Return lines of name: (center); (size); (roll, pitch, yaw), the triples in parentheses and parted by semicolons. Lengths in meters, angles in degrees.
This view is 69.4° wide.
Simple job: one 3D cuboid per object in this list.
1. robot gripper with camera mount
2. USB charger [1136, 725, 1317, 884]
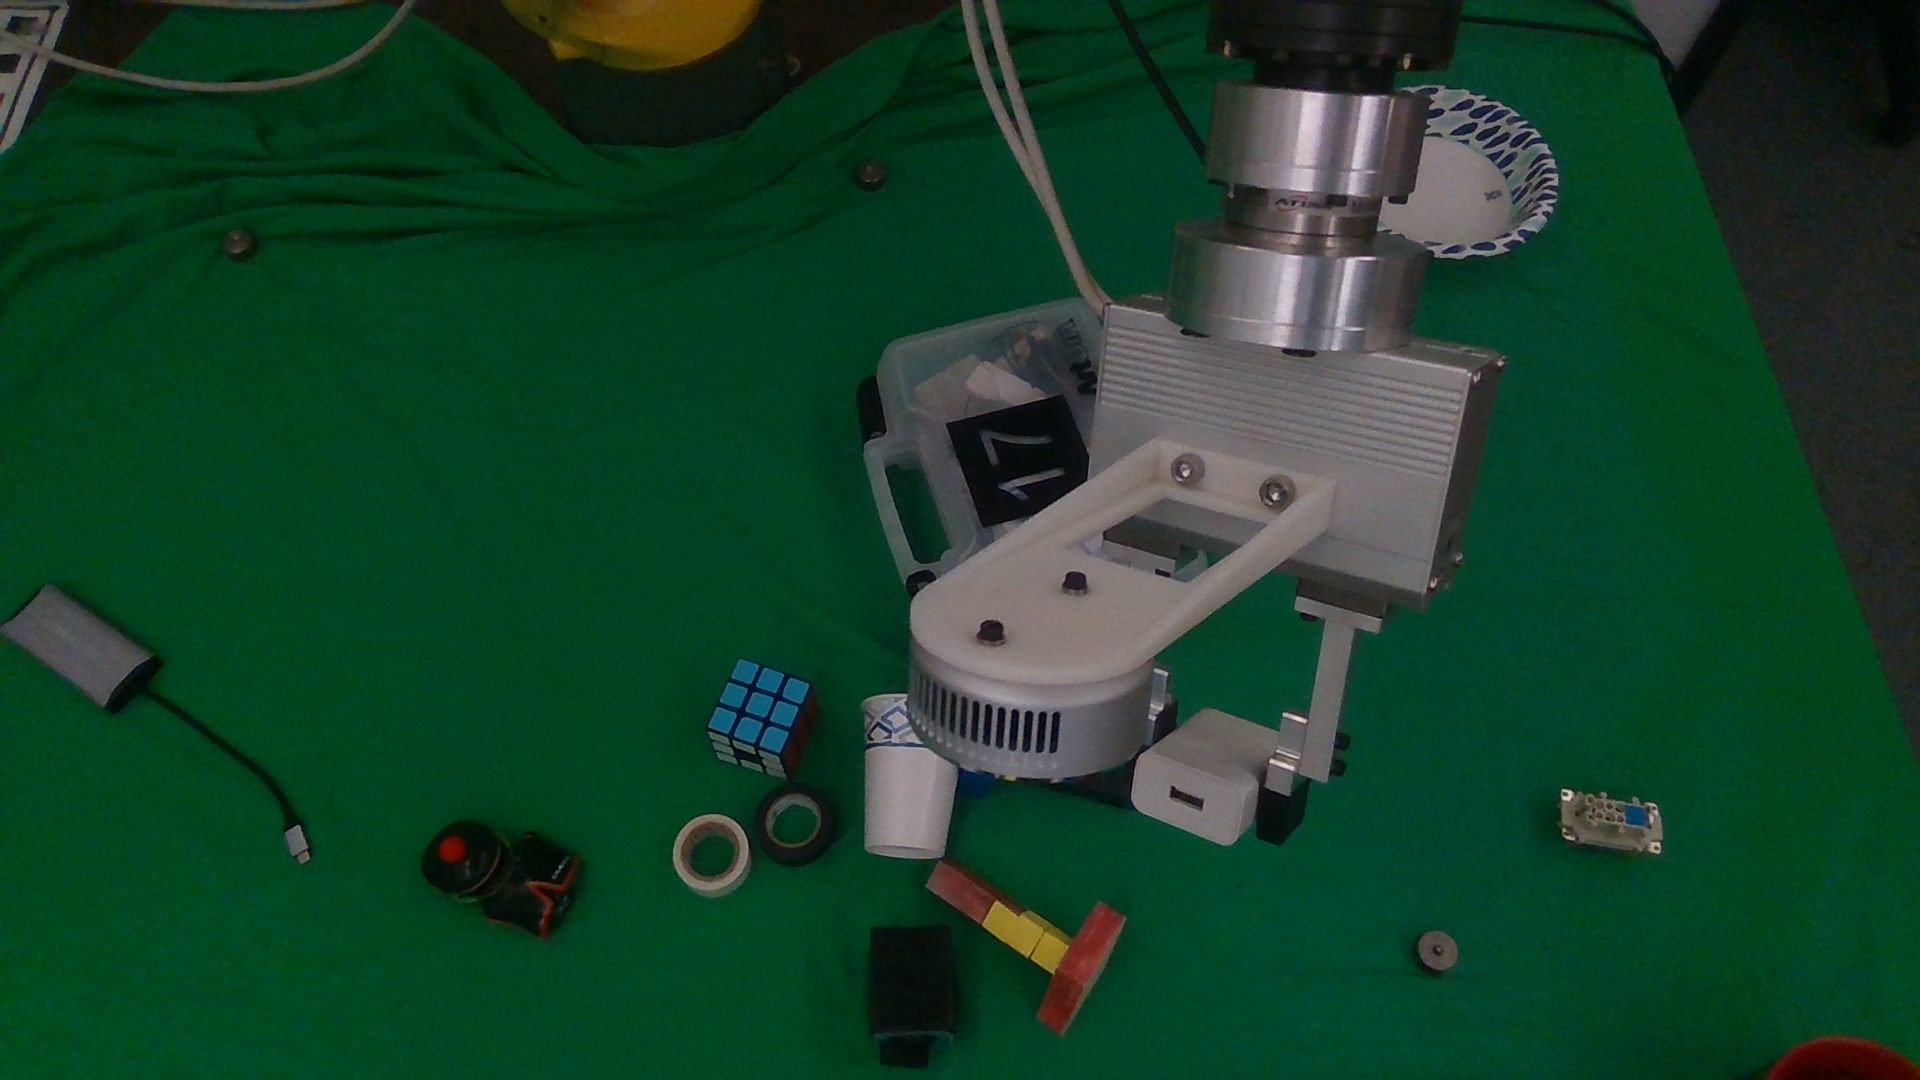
robot gripper with camera mount: (0.063, 0.039, 0.402); (0.119, 0.158, 0.193); (16, 19, 29)
USB charger: (0.099, 0.089, 0.497); (0.045, 0.029, 0.075); (28, 30, 32)
